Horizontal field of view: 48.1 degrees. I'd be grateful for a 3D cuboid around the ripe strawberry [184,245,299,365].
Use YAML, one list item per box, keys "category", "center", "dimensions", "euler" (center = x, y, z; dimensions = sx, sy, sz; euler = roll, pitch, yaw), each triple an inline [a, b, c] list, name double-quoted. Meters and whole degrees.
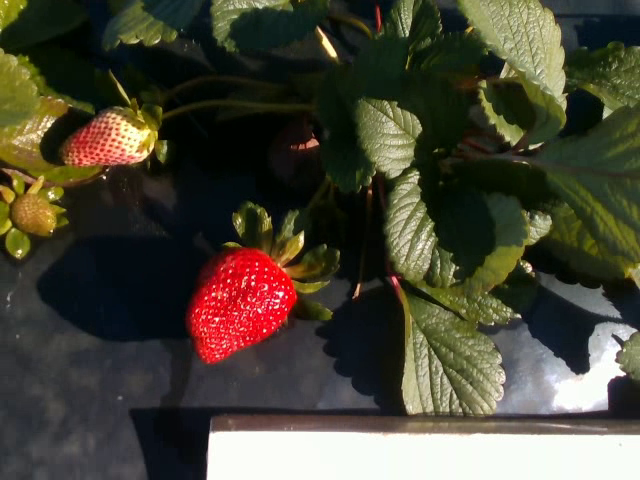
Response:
- category: "ripe strawberry"
  center: [-0.037, 0.029, 0.291]
  dimensions: [0.058, 0.066, 0.061]
  euler: [-39, 12, 25]
